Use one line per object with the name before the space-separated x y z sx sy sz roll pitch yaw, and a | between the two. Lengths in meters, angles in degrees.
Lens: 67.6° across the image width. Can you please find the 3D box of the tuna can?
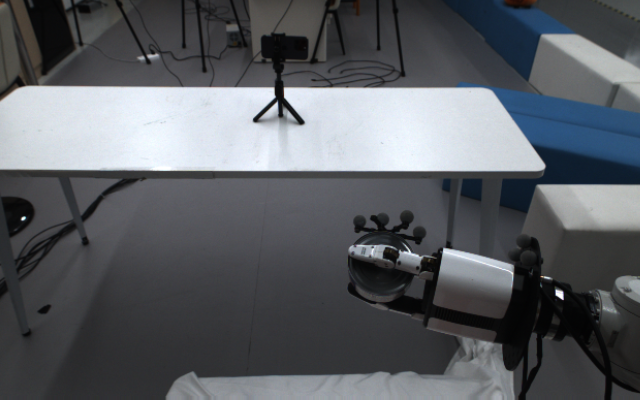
tuna can | 0.078 0.080 0.611 0.085 0.034 0.085 -2 56 3
